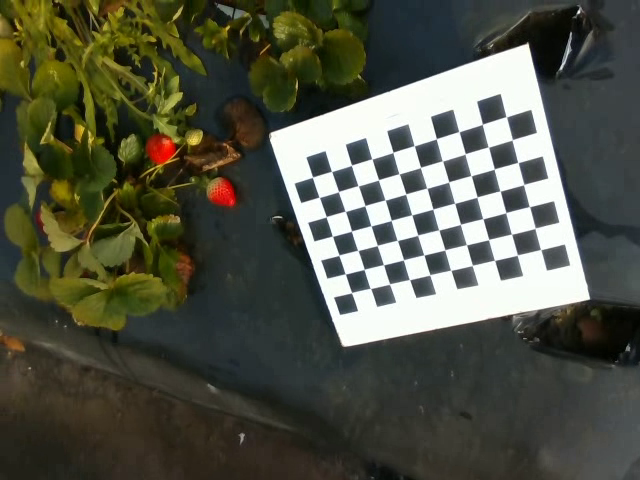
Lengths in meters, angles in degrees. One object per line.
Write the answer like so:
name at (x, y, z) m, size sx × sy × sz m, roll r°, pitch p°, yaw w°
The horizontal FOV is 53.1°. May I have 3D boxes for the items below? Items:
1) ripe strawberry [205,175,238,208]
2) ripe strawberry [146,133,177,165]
ripe strawberry at (-0.115, -0.055, 0.734) m, size 0.043 × 0.035 × 0.029 m, roll 38°, pitch 23°, yaw 6°
ripe strawberry at (-0.188, -0.109, 0.735) m, size 0.031 × 0.040 × 0.048 m, roll -35°, pitch 7°, yaw -25°
